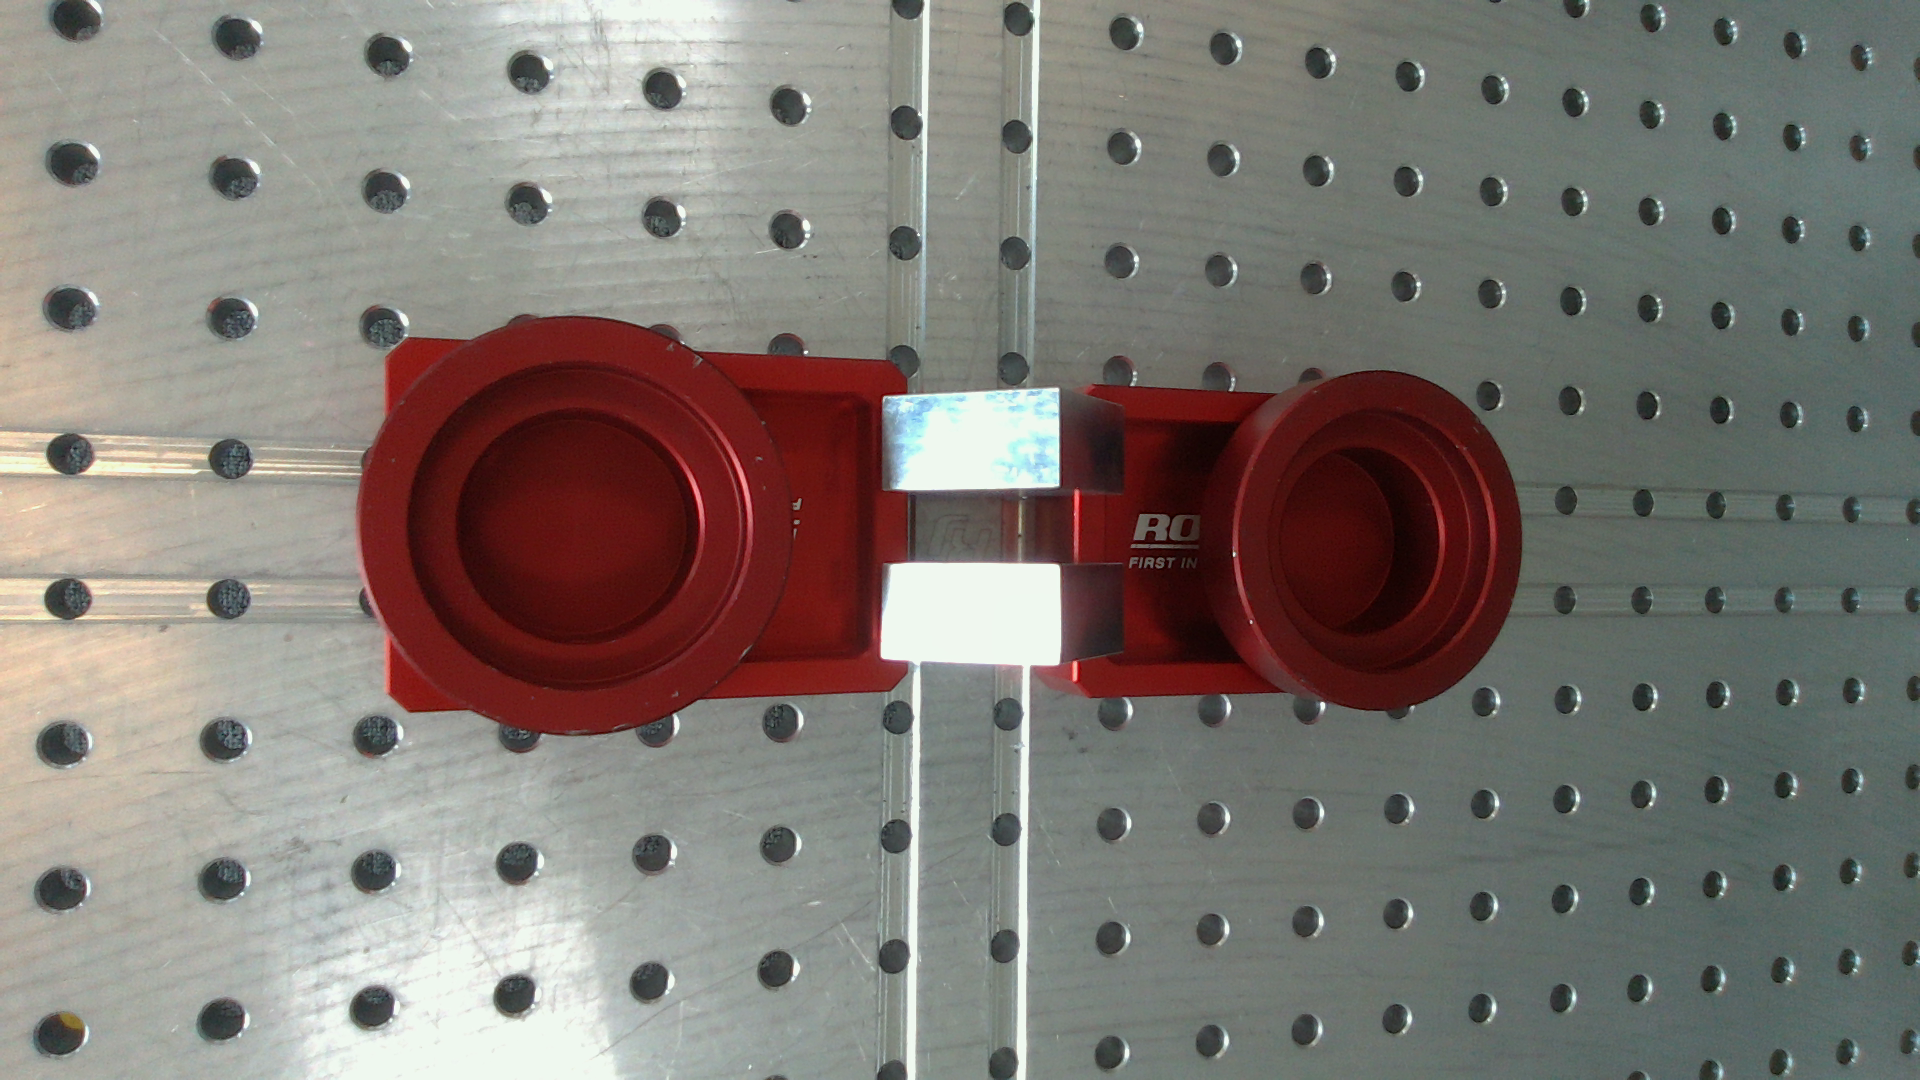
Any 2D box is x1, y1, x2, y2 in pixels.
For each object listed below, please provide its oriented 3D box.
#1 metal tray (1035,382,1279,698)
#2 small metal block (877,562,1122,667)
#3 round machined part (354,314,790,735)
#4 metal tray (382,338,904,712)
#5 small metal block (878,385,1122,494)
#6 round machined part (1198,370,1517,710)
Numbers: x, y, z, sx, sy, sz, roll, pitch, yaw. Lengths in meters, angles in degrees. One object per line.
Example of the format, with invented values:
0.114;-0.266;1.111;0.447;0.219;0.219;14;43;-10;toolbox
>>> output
0.089;0.001;0.426;0.130;0.030;0.090;1;90;-20;metal tray
0.012;0.019;0.371;0.050;0.050;0.025;1;90;25;small metal block
-0.094;-0.004;0.339;0.098;0.042;0.098;0;90;-20;round machined part
-0.081;-0.005;0.365;0.130;0.030;0.090;-1;92;-20;metal tray
0.012;-0.026;0.372;0.050;0.050;0.025;1;90;25;small metal block
0.115;0.000;0.415;0.098;0.042;0.098;0;90;-20;round machined part
